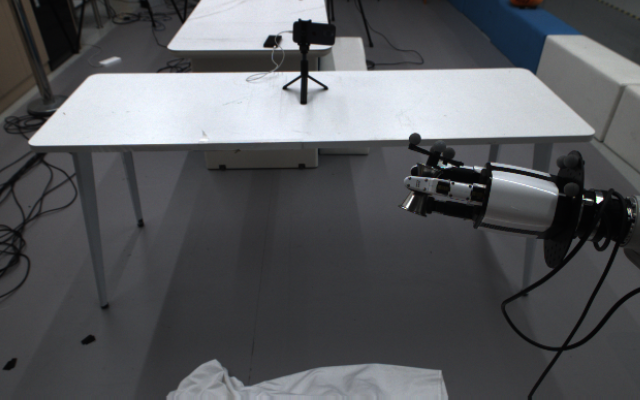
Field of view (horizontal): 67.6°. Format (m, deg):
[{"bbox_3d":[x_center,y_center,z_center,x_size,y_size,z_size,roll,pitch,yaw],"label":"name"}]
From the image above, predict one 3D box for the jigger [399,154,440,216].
[{"bbox_3d":[0.142,-0.017,0.684,0.043,0.071,0.043,22,5,-2],"label":"jigger"}]
